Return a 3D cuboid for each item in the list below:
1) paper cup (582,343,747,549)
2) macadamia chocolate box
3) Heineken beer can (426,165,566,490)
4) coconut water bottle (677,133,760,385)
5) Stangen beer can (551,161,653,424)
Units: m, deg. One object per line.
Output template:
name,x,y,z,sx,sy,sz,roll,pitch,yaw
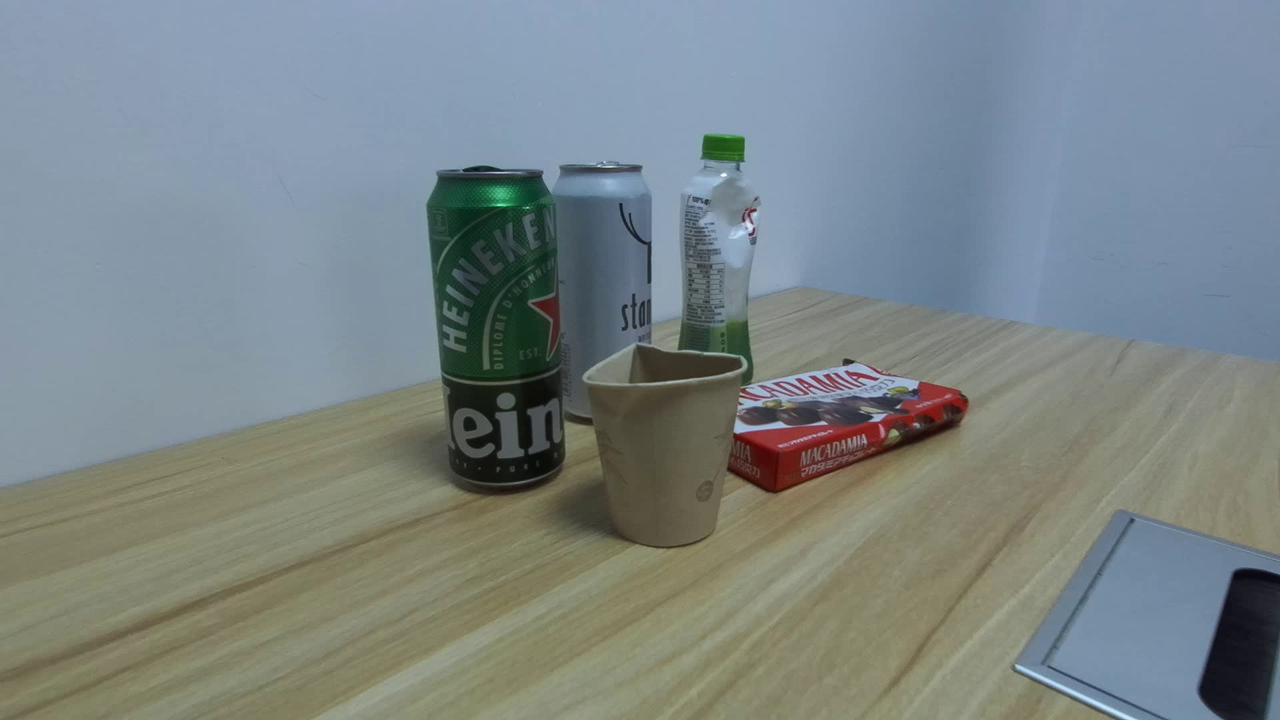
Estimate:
paper cup,0.012,0.041,0.341,0.071,0.084,0.066,6,18,22
macadamia chocolate box,0.121,0.036,0.465,0.184,0.028,0.105,-12,21,-35
Heineken beer can,-0.077,-0.016,0.390,0.067,0.169,0.067,-1,15,1
coconut water bottle,0.058,-0.073,0.536,0.069,0.187,0.069,1,14,0
Stangen beer can,-0.025,-0.045,0.486,0.067,0.171,0.067,1,14,0
